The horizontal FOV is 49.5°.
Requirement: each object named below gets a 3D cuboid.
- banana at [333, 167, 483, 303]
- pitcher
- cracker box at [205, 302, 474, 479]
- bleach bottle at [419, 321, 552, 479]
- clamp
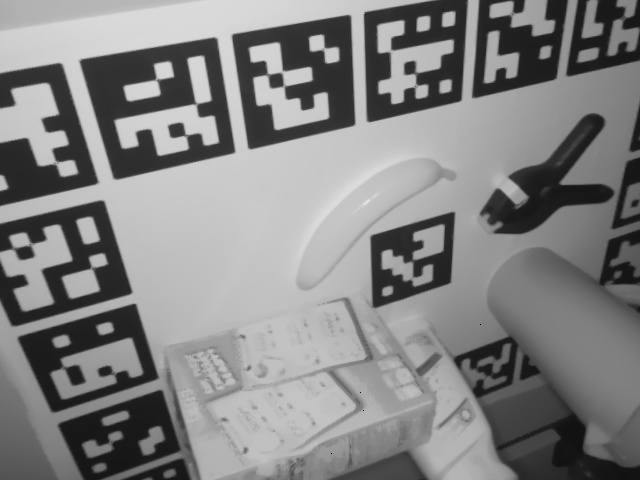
[{"bbox_3d":[0.078,-0.012,0.707,0.197,0.039,0.074,-44,128,5],"label":"banana"},{"bbox_3d":[0.355,0.120,0.753,0.189,0.242,0.133,-30,128,-1],"label":"pitcher"},{"bbox_3d":[0.016,0.161,0.678,0.216,0.164,0.071,-15,128,-17],"label":"cracker box"},{"bbox_3d":[0.177,0.194,0.740,0.103,0.250,0.067,-16,126,-15],"label":"bleach bottle"},{"bbox_3d":[0.289,-0.048,0.774,0.166,0.036,0.121,-29,129,-4],"label":"clamp"}]
